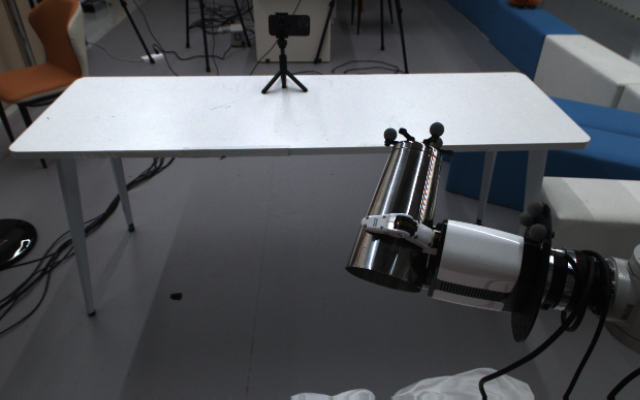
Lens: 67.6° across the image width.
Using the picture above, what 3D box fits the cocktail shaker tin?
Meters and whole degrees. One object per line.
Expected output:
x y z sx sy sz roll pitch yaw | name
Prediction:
0.098 0.018 0.594 0.093 0.093 0.170 14 73 16 | cocktail shaker tin
